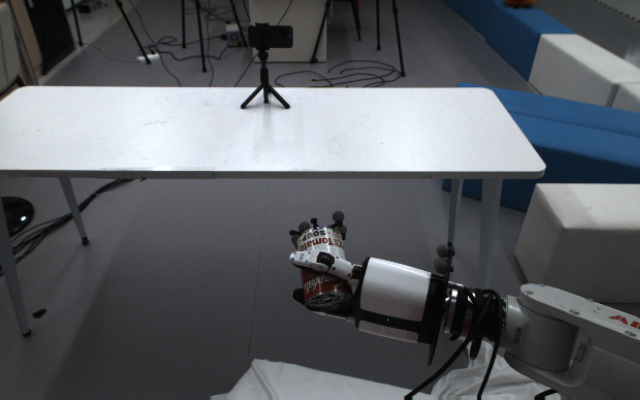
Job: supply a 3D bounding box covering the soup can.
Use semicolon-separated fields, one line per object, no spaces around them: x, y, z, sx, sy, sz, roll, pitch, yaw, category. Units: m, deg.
0.008;0.097;0.680;0.067;0.067;0.101;-5;57;-10;soup can
